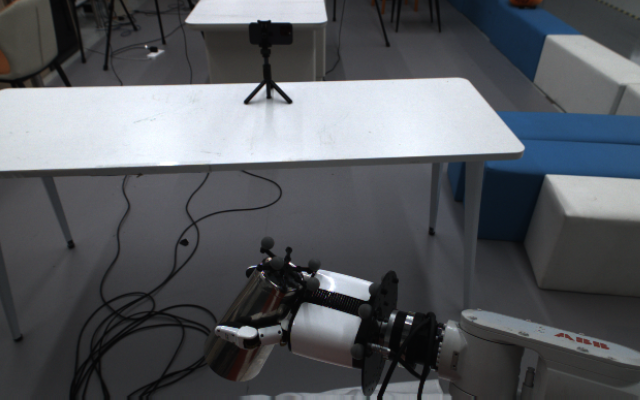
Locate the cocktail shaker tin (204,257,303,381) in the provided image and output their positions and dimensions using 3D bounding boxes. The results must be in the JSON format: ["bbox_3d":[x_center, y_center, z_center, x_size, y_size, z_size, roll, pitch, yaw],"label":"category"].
[{"bbox_3d":[-0.087,0.156,0.669,0.093,0.170,0.093,25,29,-15],"label":"cocktail shaker tin"}]
